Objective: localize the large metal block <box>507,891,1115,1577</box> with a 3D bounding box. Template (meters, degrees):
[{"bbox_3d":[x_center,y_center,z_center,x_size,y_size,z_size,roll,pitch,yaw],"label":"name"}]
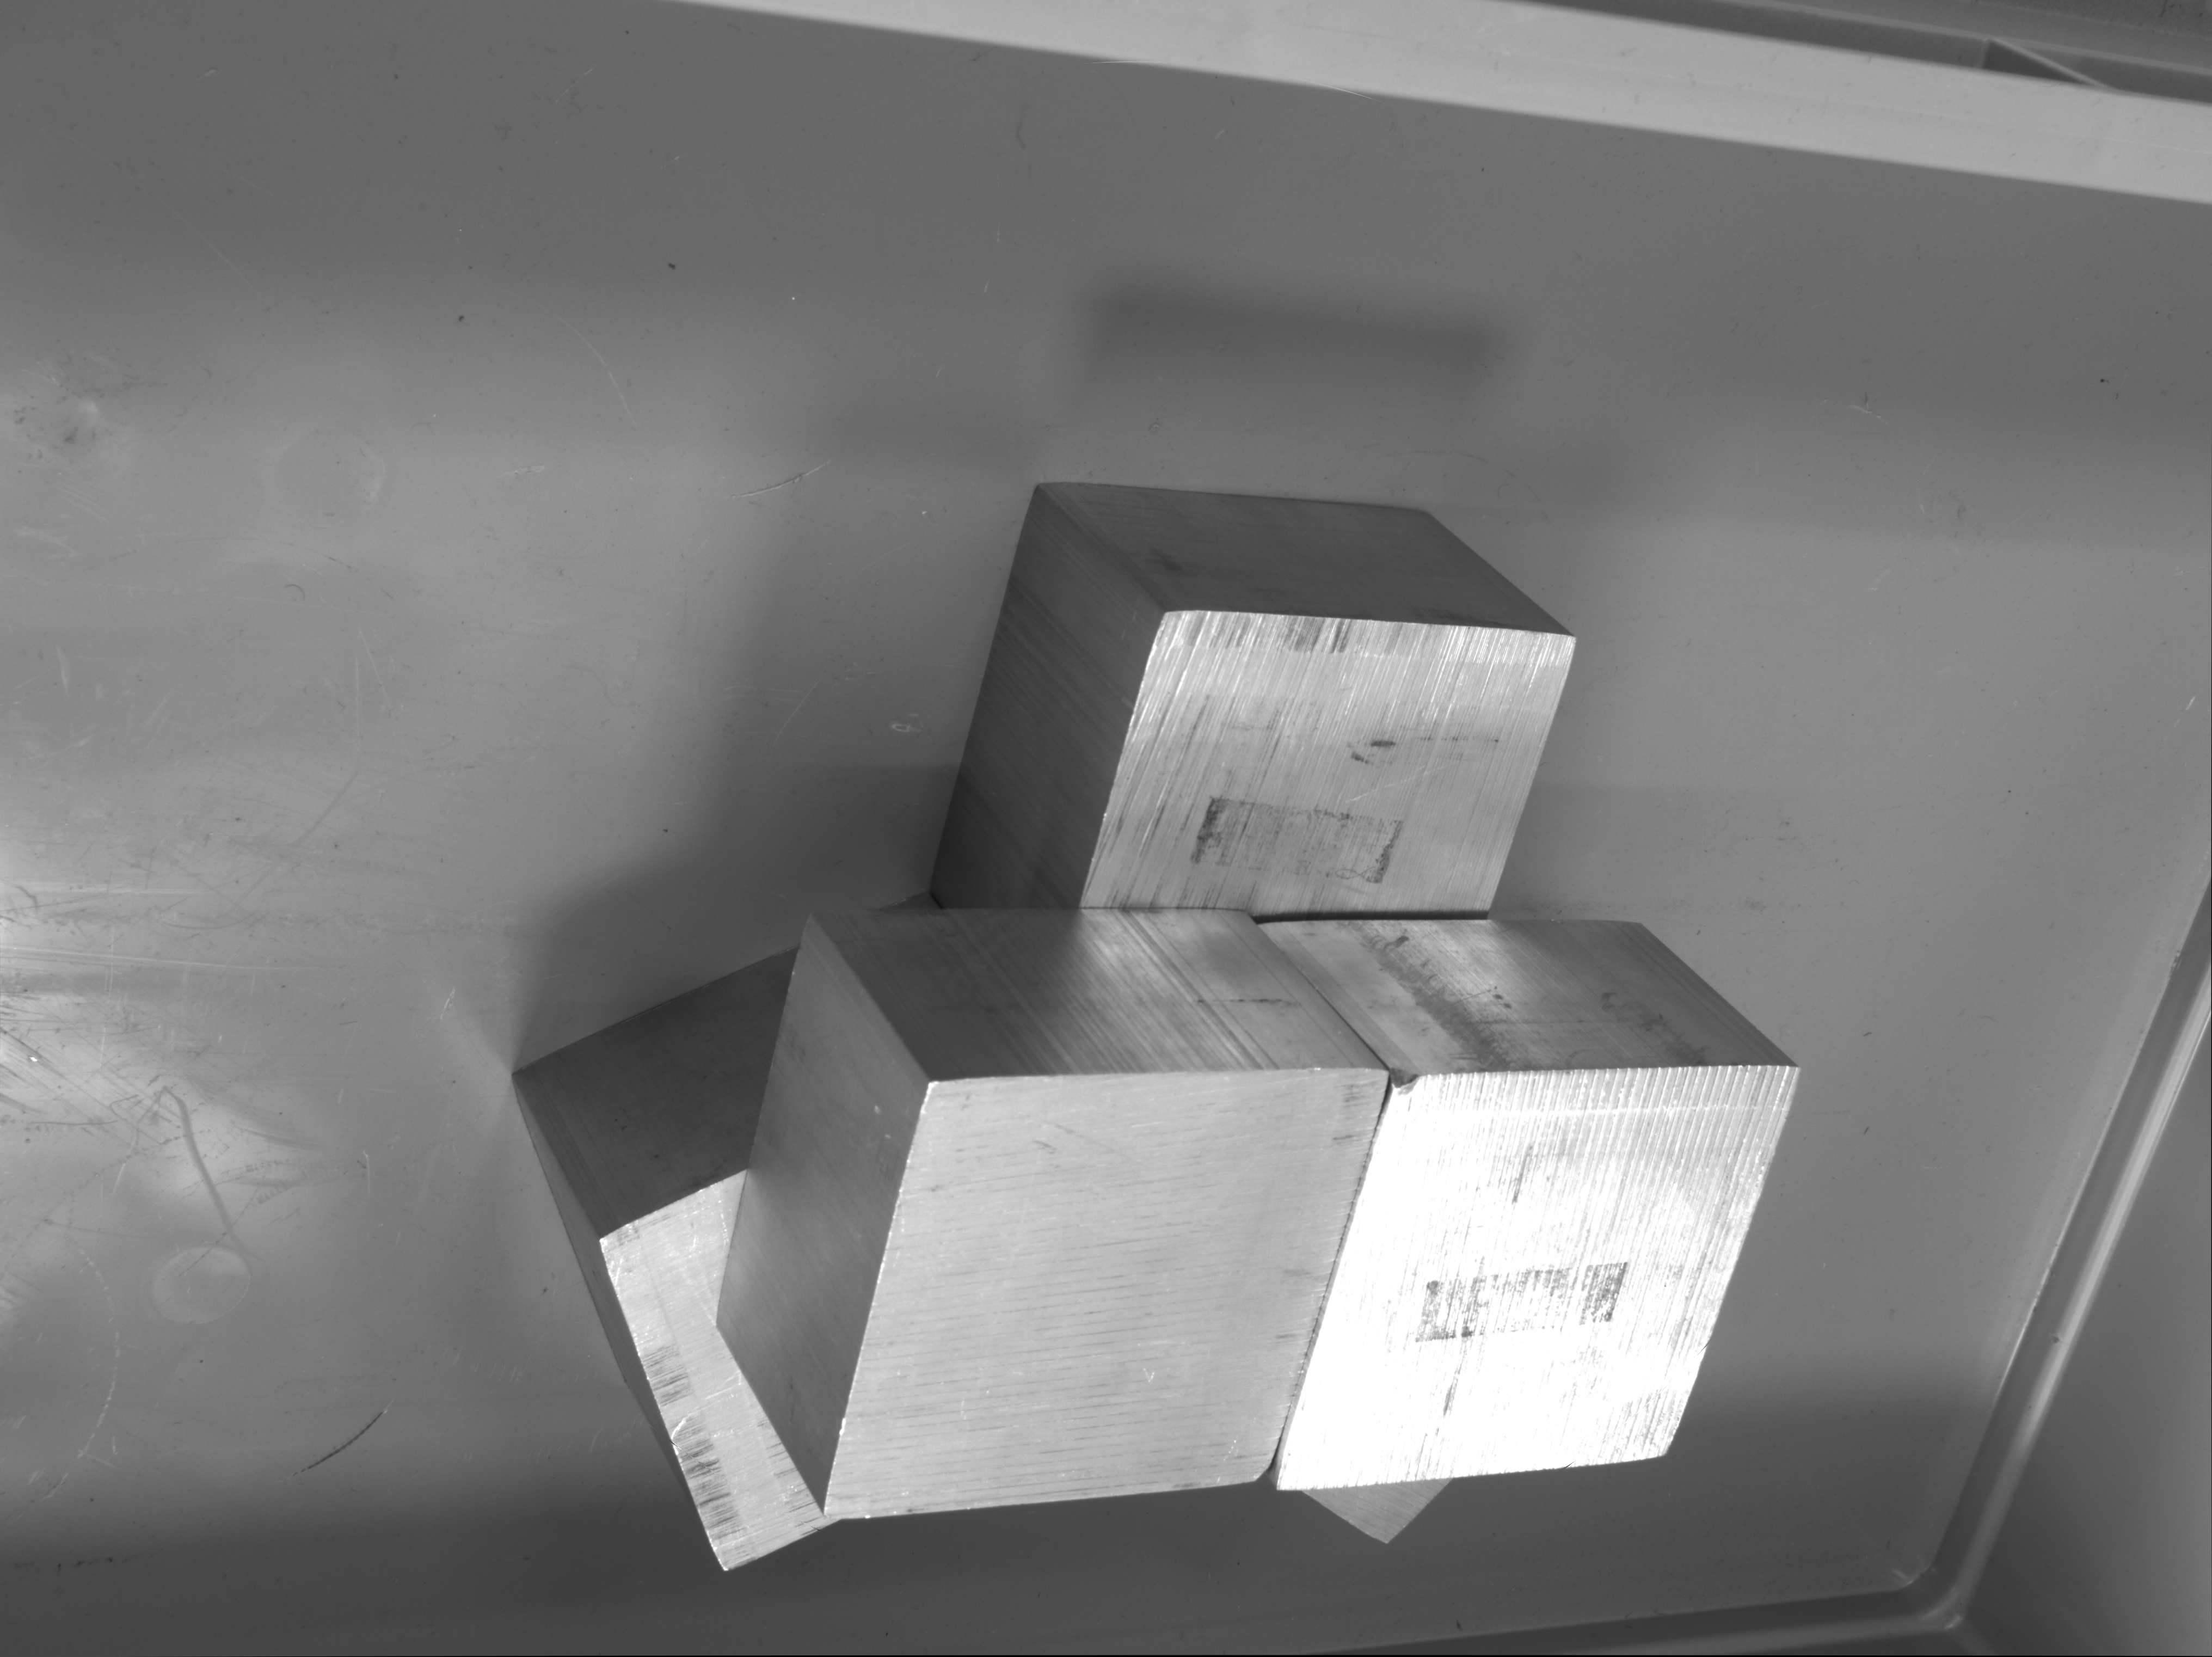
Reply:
[{"bbox_3d":[-0.048,0.070,0.636,0.080,0.050,0.080,-24,127,-14],"label":"large metal block"}]

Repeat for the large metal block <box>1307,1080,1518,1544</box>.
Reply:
[{"bbox_3d":[0.045,0.075,0.688,0.080,0.050,0.080,-47,128,5],"label":"large metal block"}]

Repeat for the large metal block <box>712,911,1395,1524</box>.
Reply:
[{"bbox_3d":[-0.010,0.060,0.587,0.080,0.050,0.080,1,118,-29],"label":"large metal block"}]

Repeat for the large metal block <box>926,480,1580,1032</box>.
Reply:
[{"bbox_3d":[0.024,-0.010,0.626,0.080,0.050,0.080,1,117,-29],"label":"large metal block"}]

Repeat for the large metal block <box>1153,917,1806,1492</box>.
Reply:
[{"bbox_3d":[0.061,0.062,0.624,0.080,0.050,0.080,1,118,-29],"label":"large metal block"}]
